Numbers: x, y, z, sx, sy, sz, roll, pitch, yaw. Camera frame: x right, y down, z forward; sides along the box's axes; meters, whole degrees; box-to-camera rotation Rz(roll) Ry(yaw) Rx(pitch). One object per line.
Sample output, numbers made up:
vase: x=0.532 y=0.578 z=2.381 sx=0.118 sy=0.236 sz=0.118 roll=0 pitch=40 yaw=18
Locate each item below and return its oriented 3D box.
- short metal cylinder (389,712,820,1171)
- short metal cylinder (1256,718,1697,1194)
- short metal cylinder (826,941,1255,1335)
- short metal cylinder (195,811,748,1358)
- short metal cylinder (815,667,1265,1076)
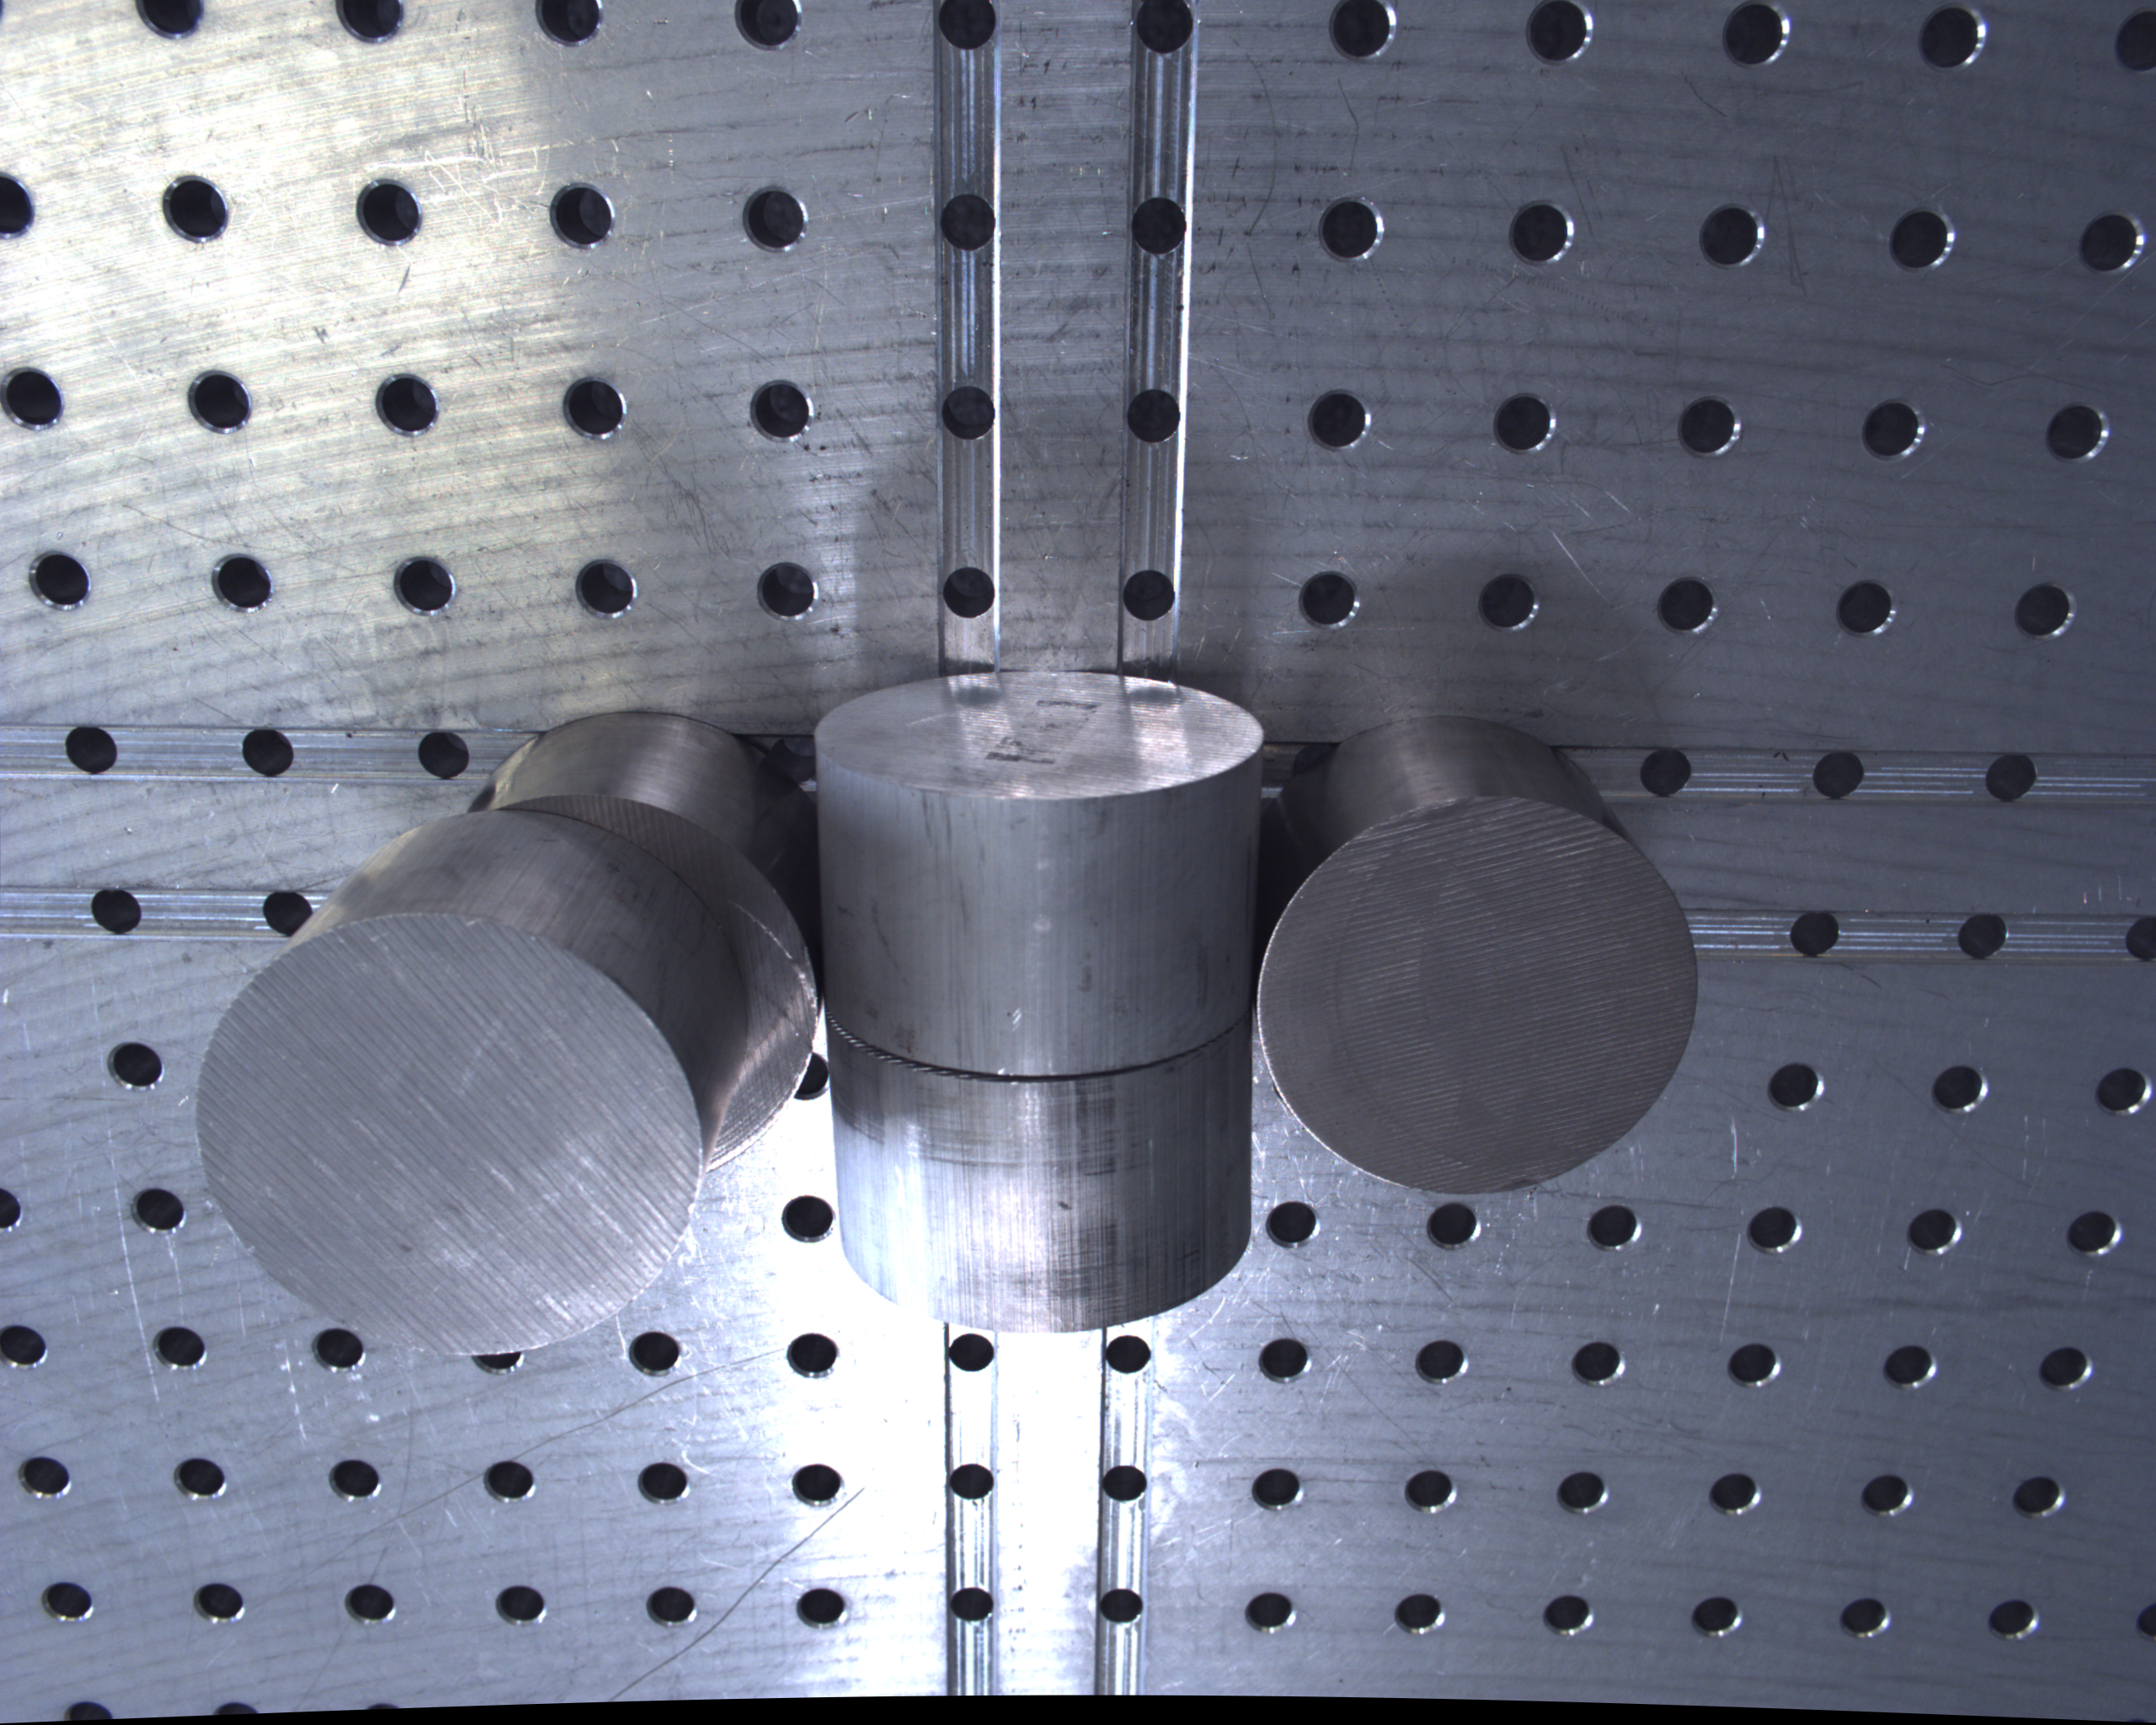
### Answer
short metal cylinder: x=-0.088 y=0.016 z=0.405 sx=0.081 sy=0.050 sz=0.079 roll=0 pitch=110 yaw=0
short metal cylinder: x=0.073 y=0.017 z=0.406 sx=0.081 sy=0.050 sz=0.079 roll=0 pitch=110 yaw=0
short metal cylinder: x=-0.006 y=0.047 z=0.401 sx=0.081 sy=0.080 sz=0.050 roll=-1 pitch=110 yaw=0
short metal cylinder: x=-0.101 y=0.037 z=0.358 sx=0.081 sy=0.050 sz=0.079 roll=0 pitch=110 yaw=0
short metal cylinder: x=-0.007 y=-0.001 z=0.384 sx=0.081 sy=0.080 sz=0.050 roll=1 pitch=111 yaw=-1
